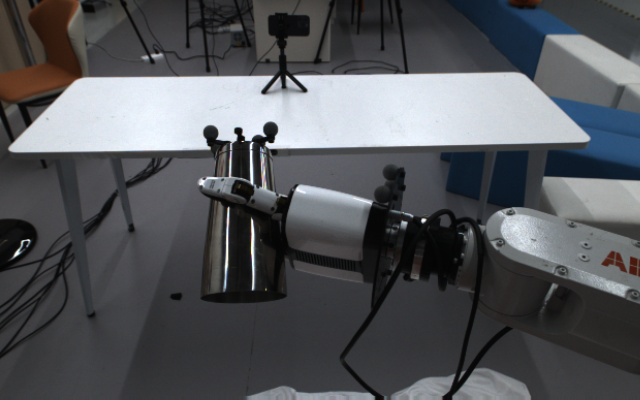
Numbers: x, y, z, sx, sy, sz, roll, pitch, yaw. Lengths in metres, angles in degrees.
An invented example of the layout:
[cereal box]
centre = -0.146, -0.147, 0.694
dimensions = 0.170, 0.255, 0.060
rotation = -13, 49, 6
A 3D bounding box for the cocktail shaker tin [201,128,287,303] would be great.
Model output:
[cocktail shaker tin]
centre = -0.085, 0.025, 0.544
dimensions = 0.093, 0.093, 0.170
rotation = -2, 71, -6
